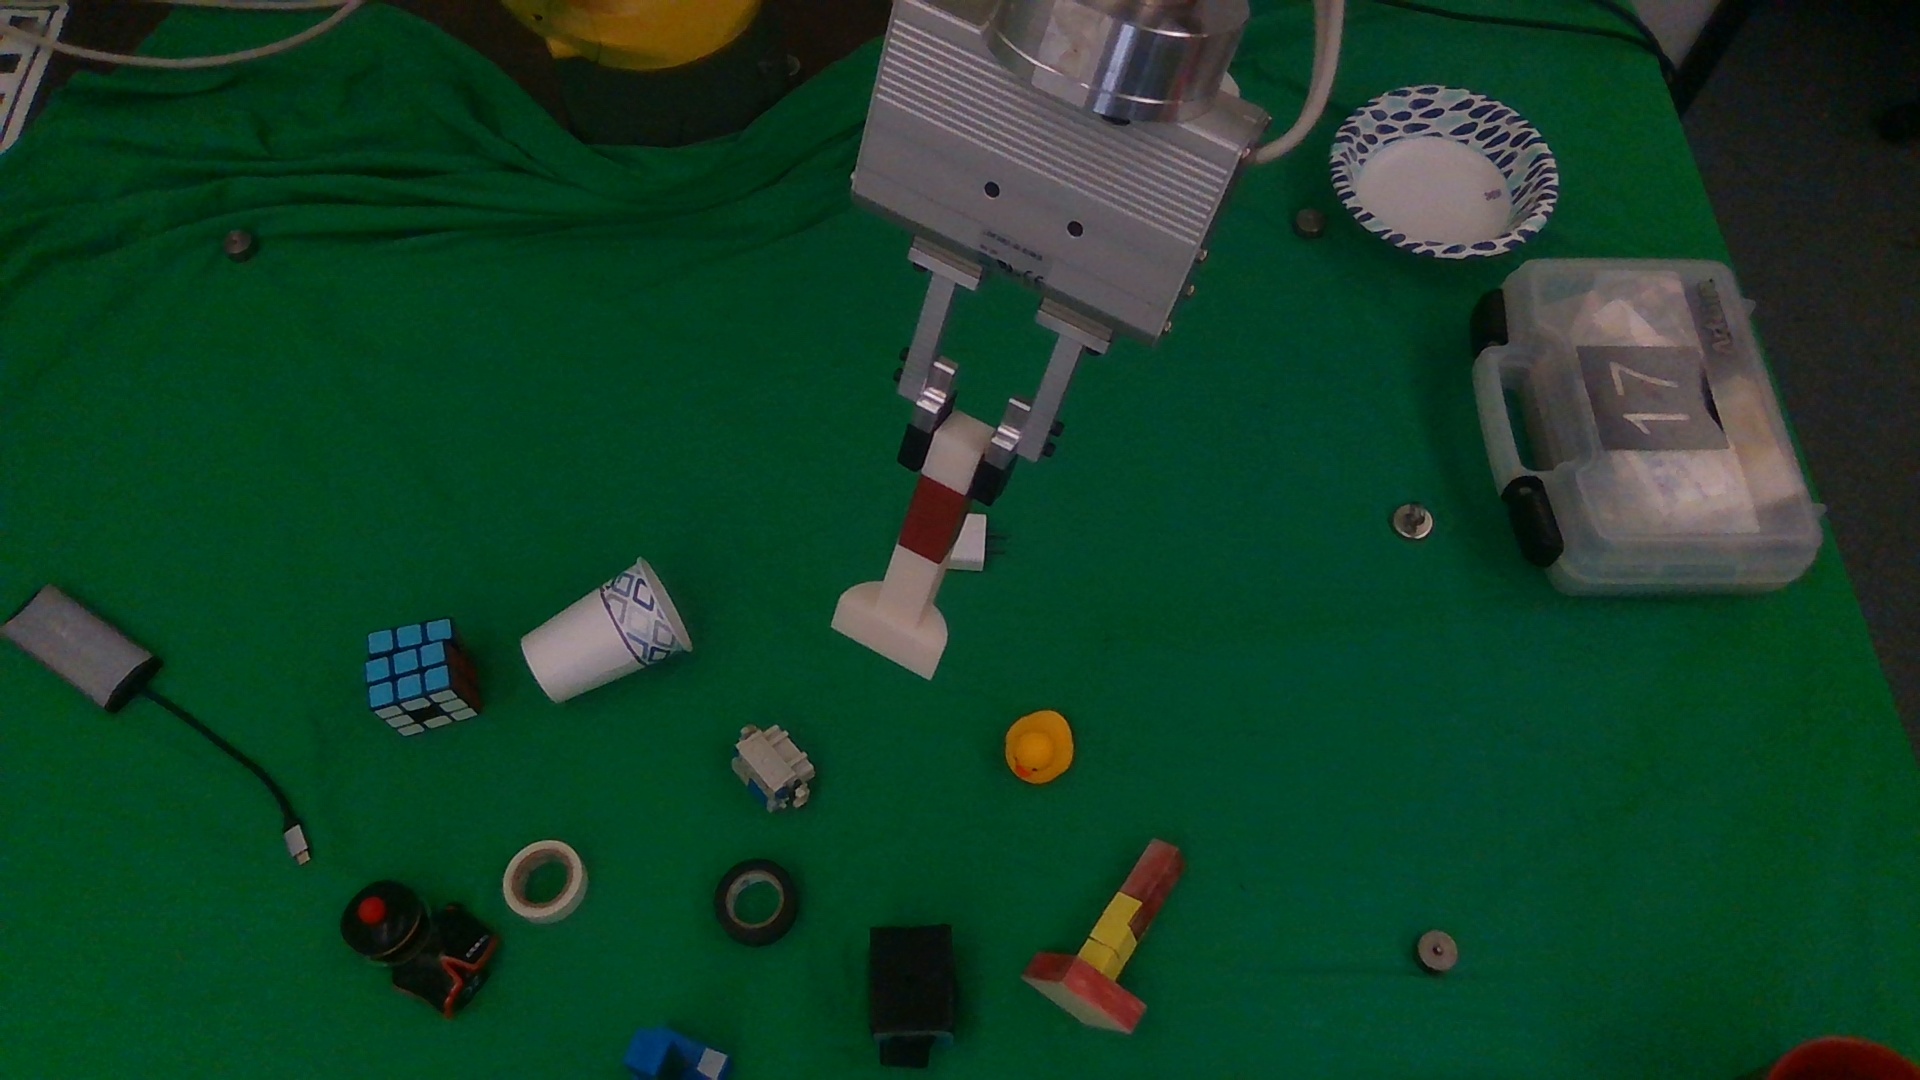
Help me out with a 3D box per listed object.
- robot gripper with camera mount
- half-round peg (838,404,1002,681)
[{"bbox_3d":[0.047,-0.130,0.551,0.119,0.159,0.193,29,43,8],"label":"robot gripper with camera mount"},{"bbox_3d":[-0.010,0.000,0.564,0.054,0.122,0.031,29,39,10],"label":"half-round peg"}]
